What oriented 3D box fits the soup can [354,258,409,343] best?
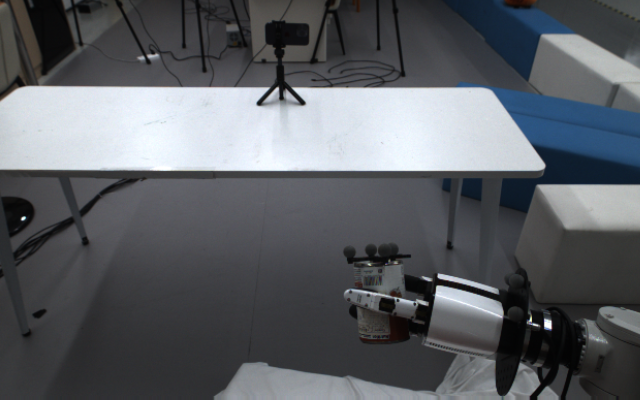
[{"bbox_3d":[0.084,0.132,0.640,0.067,0.101,0.067,-5,-5,0],"label":"soup can"}]
